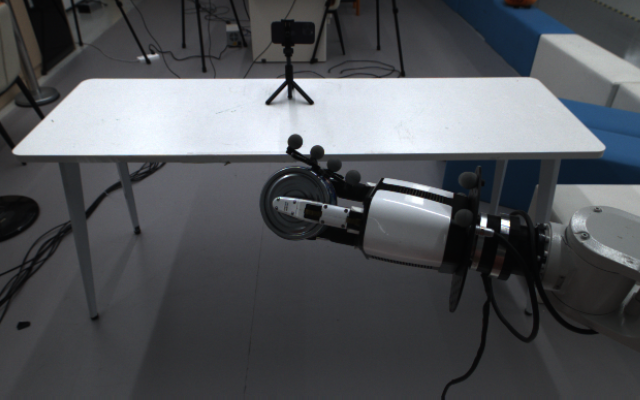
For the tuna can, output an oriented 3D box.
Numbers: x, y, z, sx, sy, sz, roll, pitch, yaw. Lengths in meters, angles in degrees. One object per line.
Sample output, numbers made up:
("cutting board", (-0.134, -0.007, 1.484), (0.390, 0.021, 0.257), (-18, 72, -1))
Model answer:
("tuna can", (-0.021, 0.010, 0.556), (0.085, 0.085, 0.034), (13, 4, 15))
